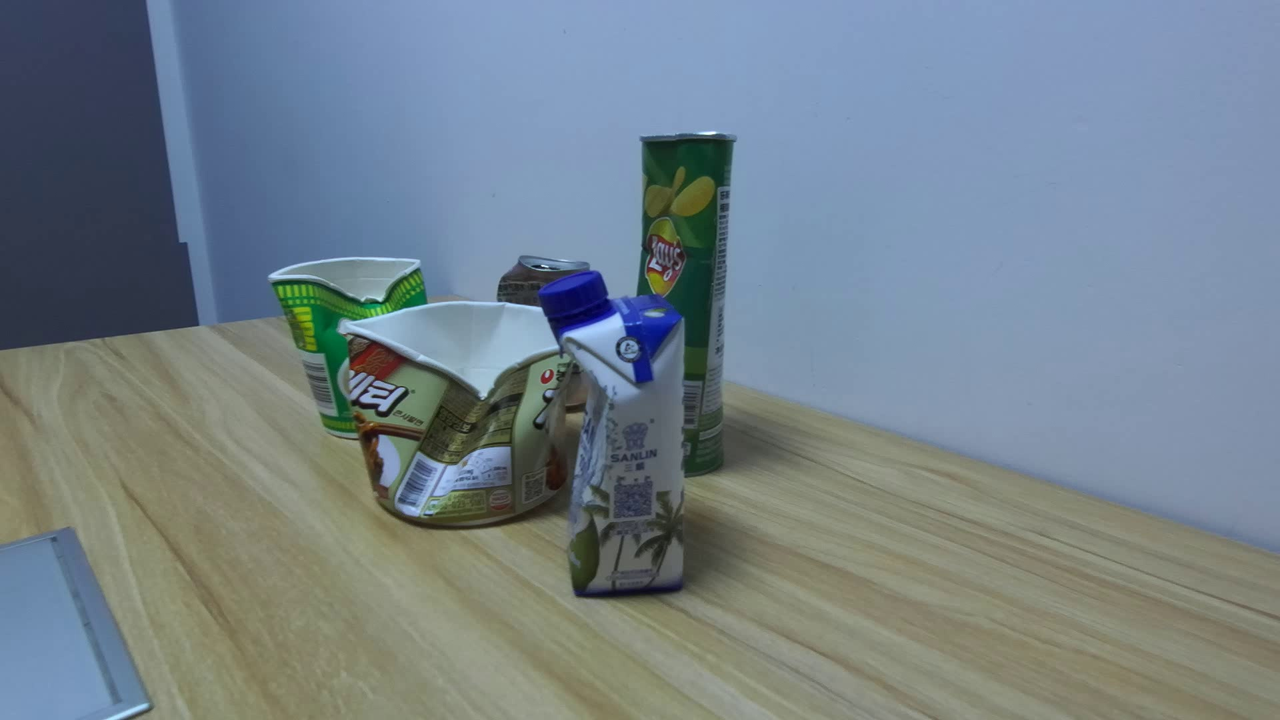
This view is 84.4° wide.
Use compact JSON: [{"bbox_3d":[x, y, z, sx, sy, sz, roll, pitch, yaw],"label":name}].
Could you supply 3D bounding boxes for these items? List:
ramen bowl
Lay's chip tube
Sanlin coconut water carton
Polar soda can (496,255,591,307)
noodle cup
[{"bbox_3d":[-0.092,0.024,0.410,0.137,0.098,0.137,4,17,-1],"label":"ramen bowl"},{"bbox_3d":[0.024,-0.033,0.430,0.074,0.199,0.069,10,18,26],"label":"Lay's chip tube"},{"bbox_3d":[-0.008,0.045,0.349,0.058,0.142,0.078,-4,-5,-6],"label":"Sanlin coconut water carton"},{"bbox_3d":[-0.072,-0.025,0.555,0.070,0.114,0.074,23,29,22],"label":"Polar soda can"},{"bbox_3d":[-0.186,-0.011,0.485,0.083,0.122,0.075,-10,10,-6],"label":"noodle cup"}]
